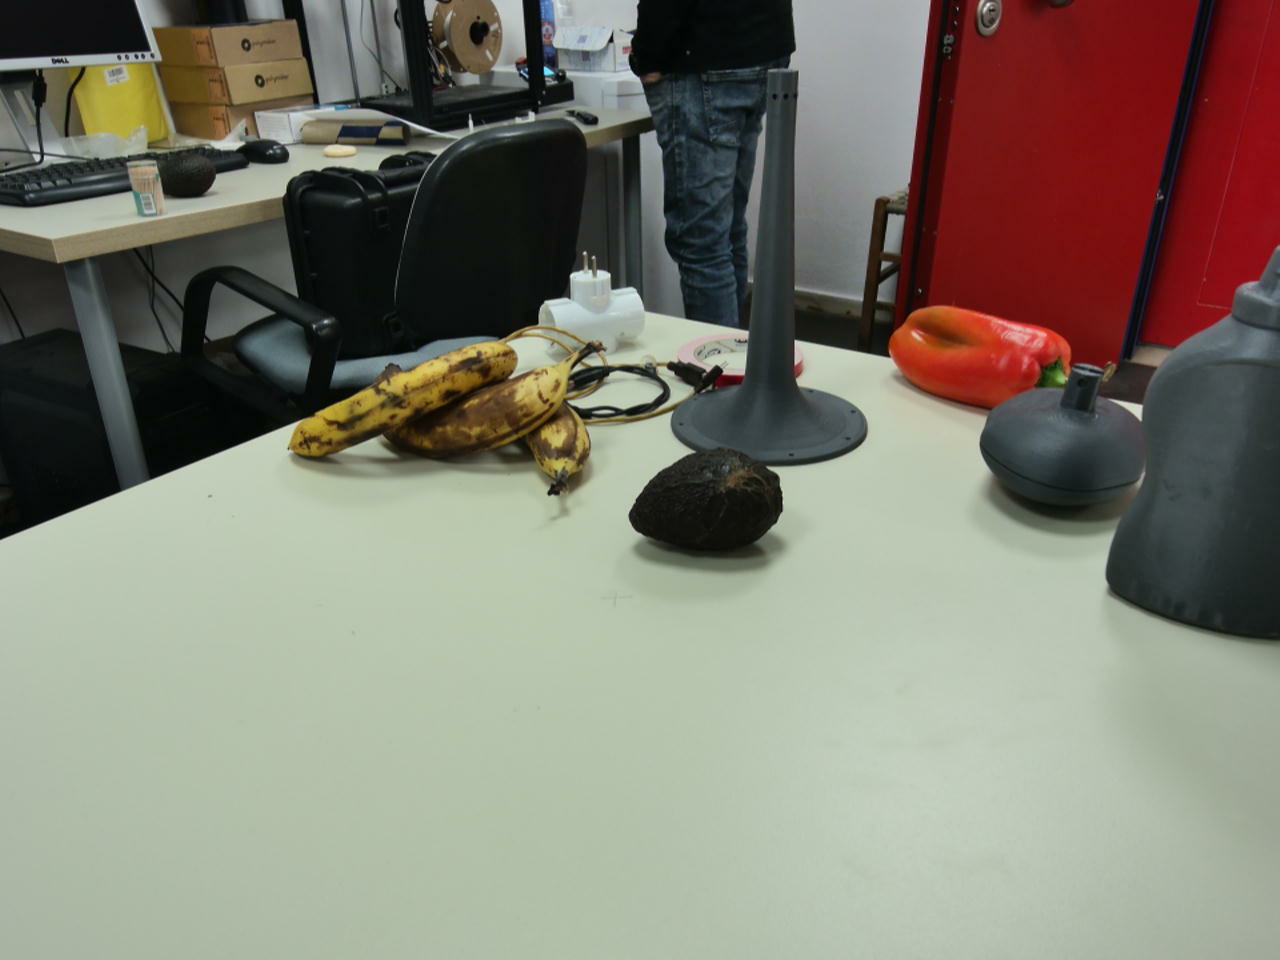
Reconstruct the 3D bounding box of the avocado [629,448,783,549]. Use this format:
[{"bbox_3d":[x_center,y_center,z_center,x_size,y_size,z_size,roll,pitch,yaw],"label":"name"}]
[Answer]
[{"bbox_3d":[0.041,0.011,0.612,0.092,0.062,0.062,6,26,11],"label":"avocado"}]
